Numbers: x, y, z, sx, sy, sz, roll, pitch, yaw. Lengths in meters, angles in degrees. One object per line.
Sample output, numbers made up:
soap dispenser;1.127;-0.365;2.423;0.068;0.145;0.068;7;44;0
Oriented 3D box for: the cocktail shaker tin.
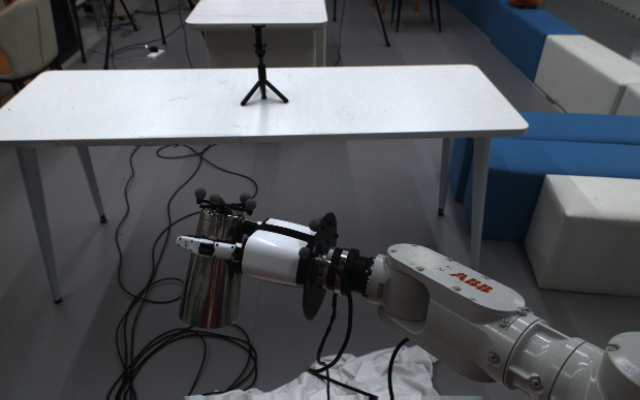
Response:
cocktail shaker tin;-0.158;0.096;0.746;0.093;0.170;0.093;10;10;-2
